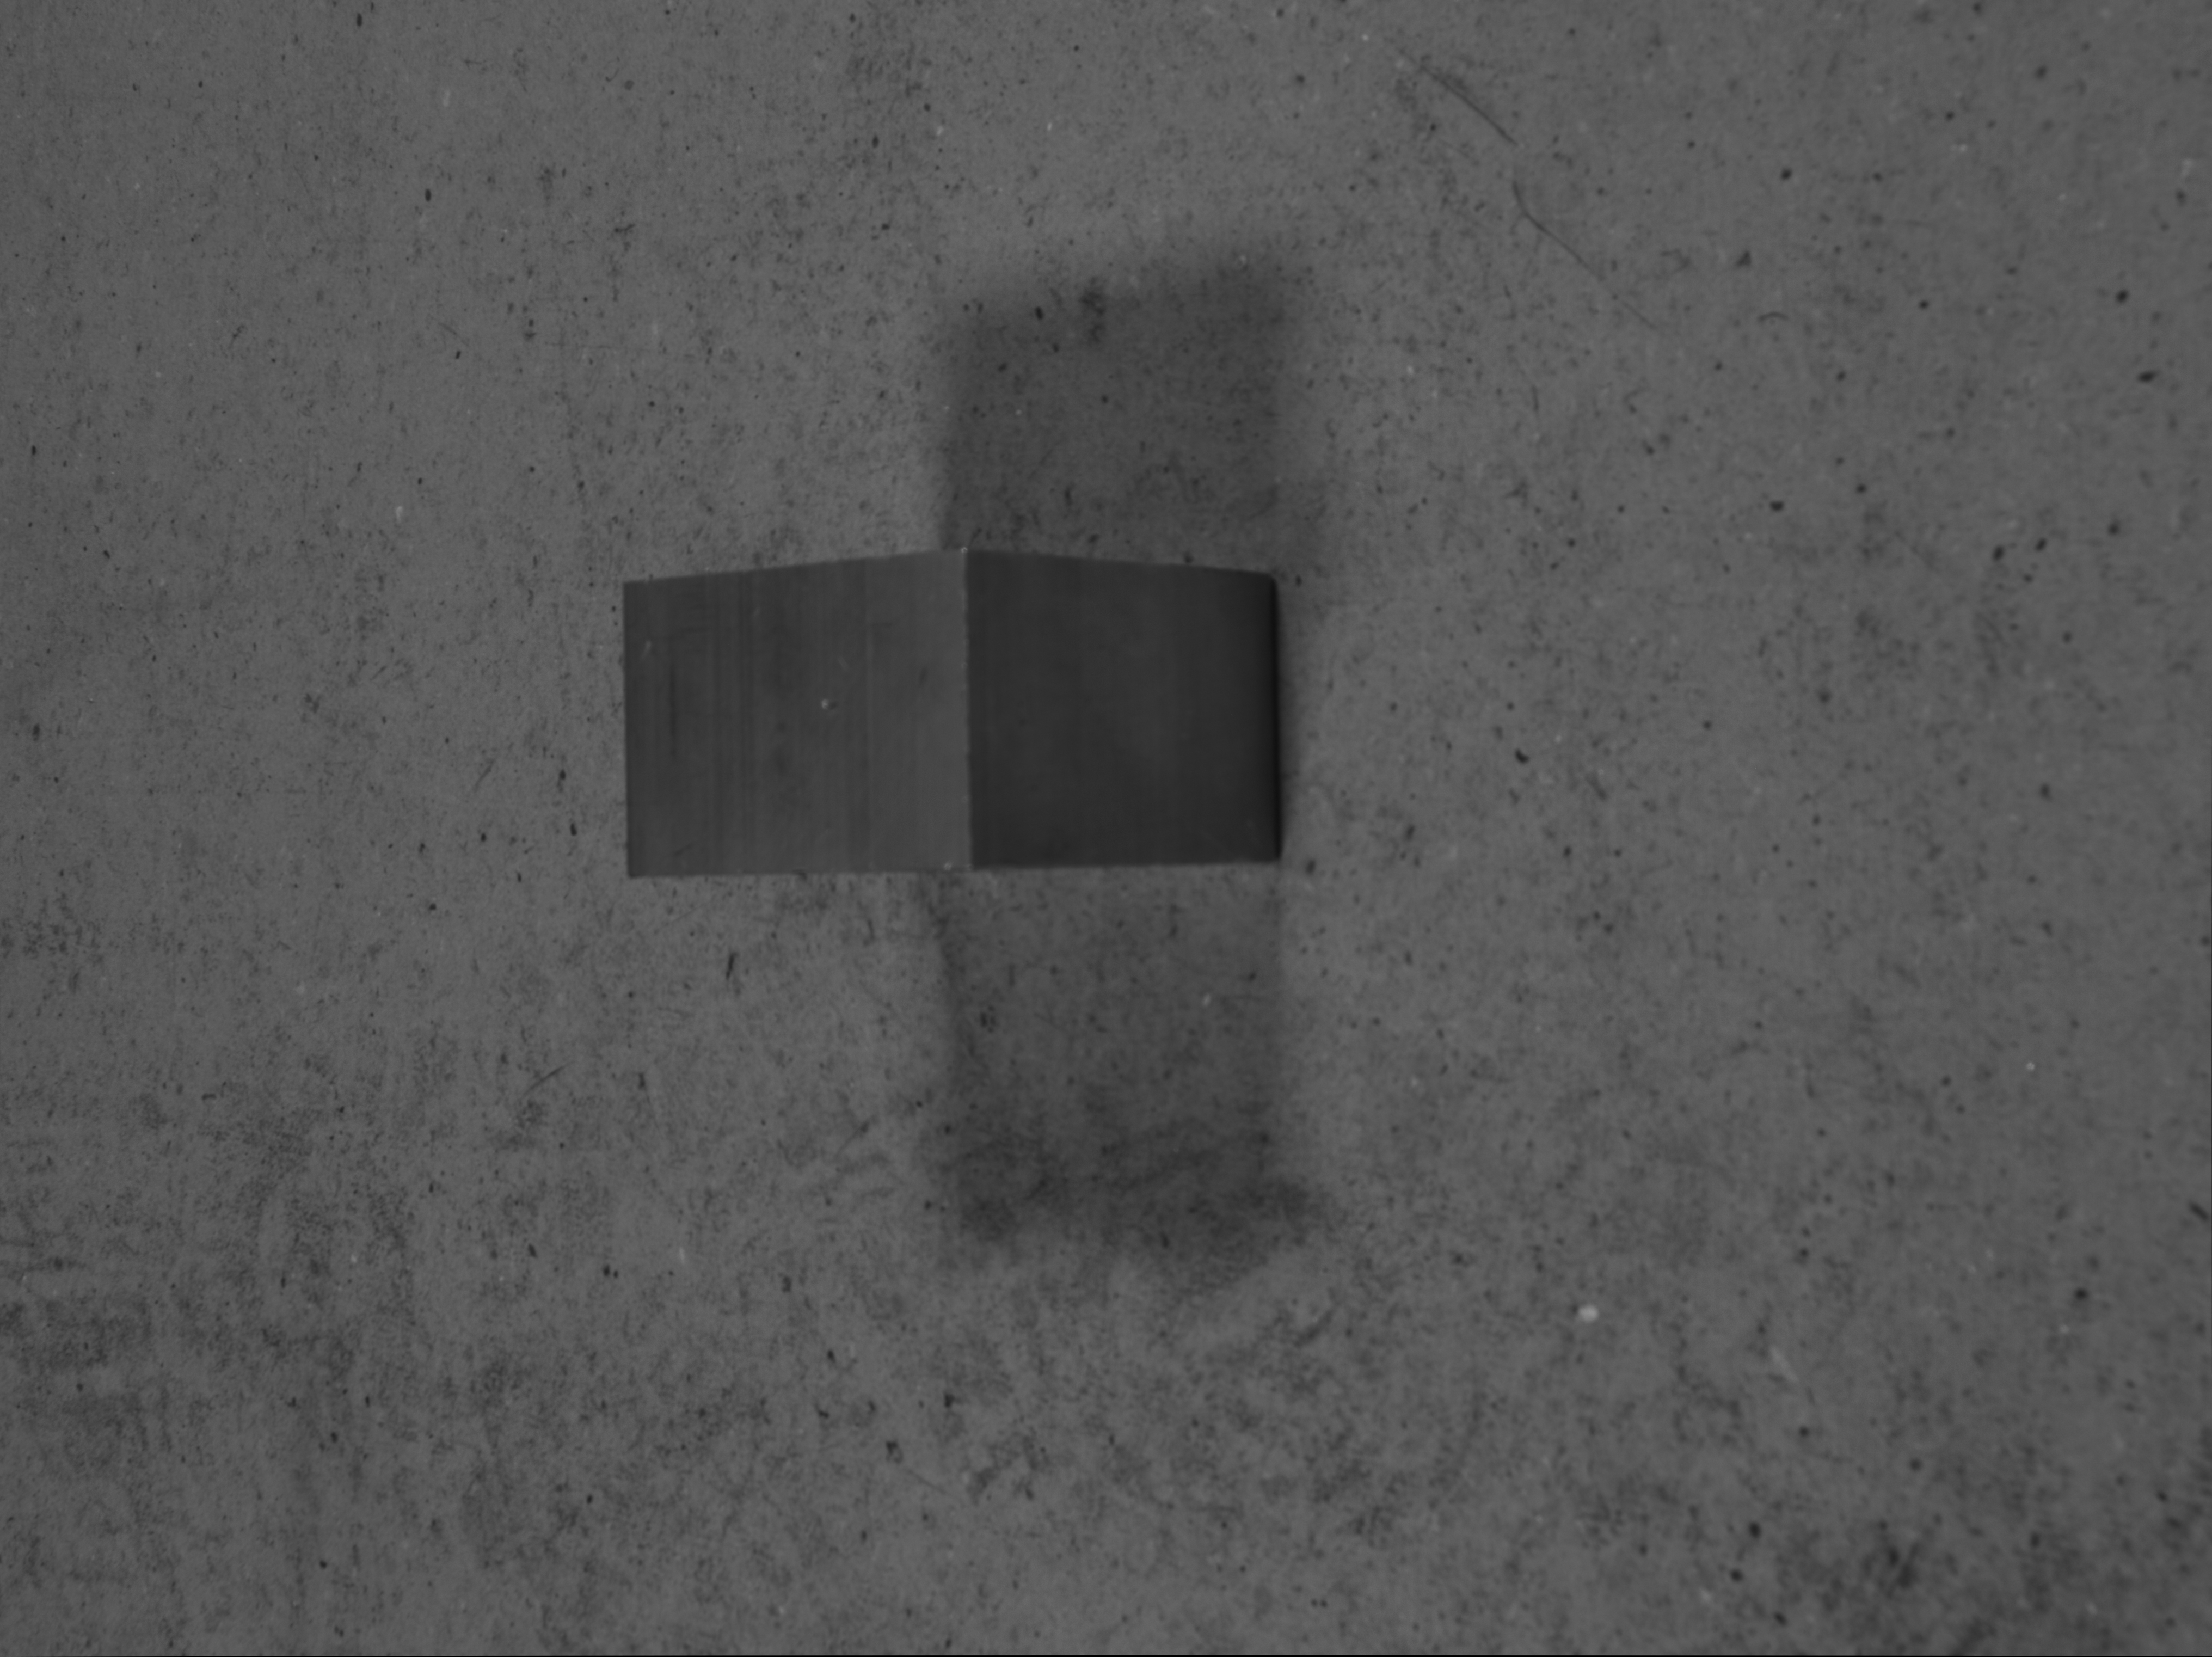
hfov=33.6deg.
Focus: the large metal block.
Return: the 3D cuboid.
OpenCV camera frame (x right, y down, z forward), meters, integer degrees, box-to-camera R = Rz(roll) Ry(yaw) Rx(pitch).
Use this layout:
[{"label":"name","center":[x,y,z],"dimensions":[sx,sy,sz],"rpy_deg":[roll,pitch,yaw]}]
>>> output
[{"label":"large metal block","center":[-0.030,-0.017,0.626],"dimensions":[0.080,0.080,0.050],"rpy_deg":[-2,89,39]}]
